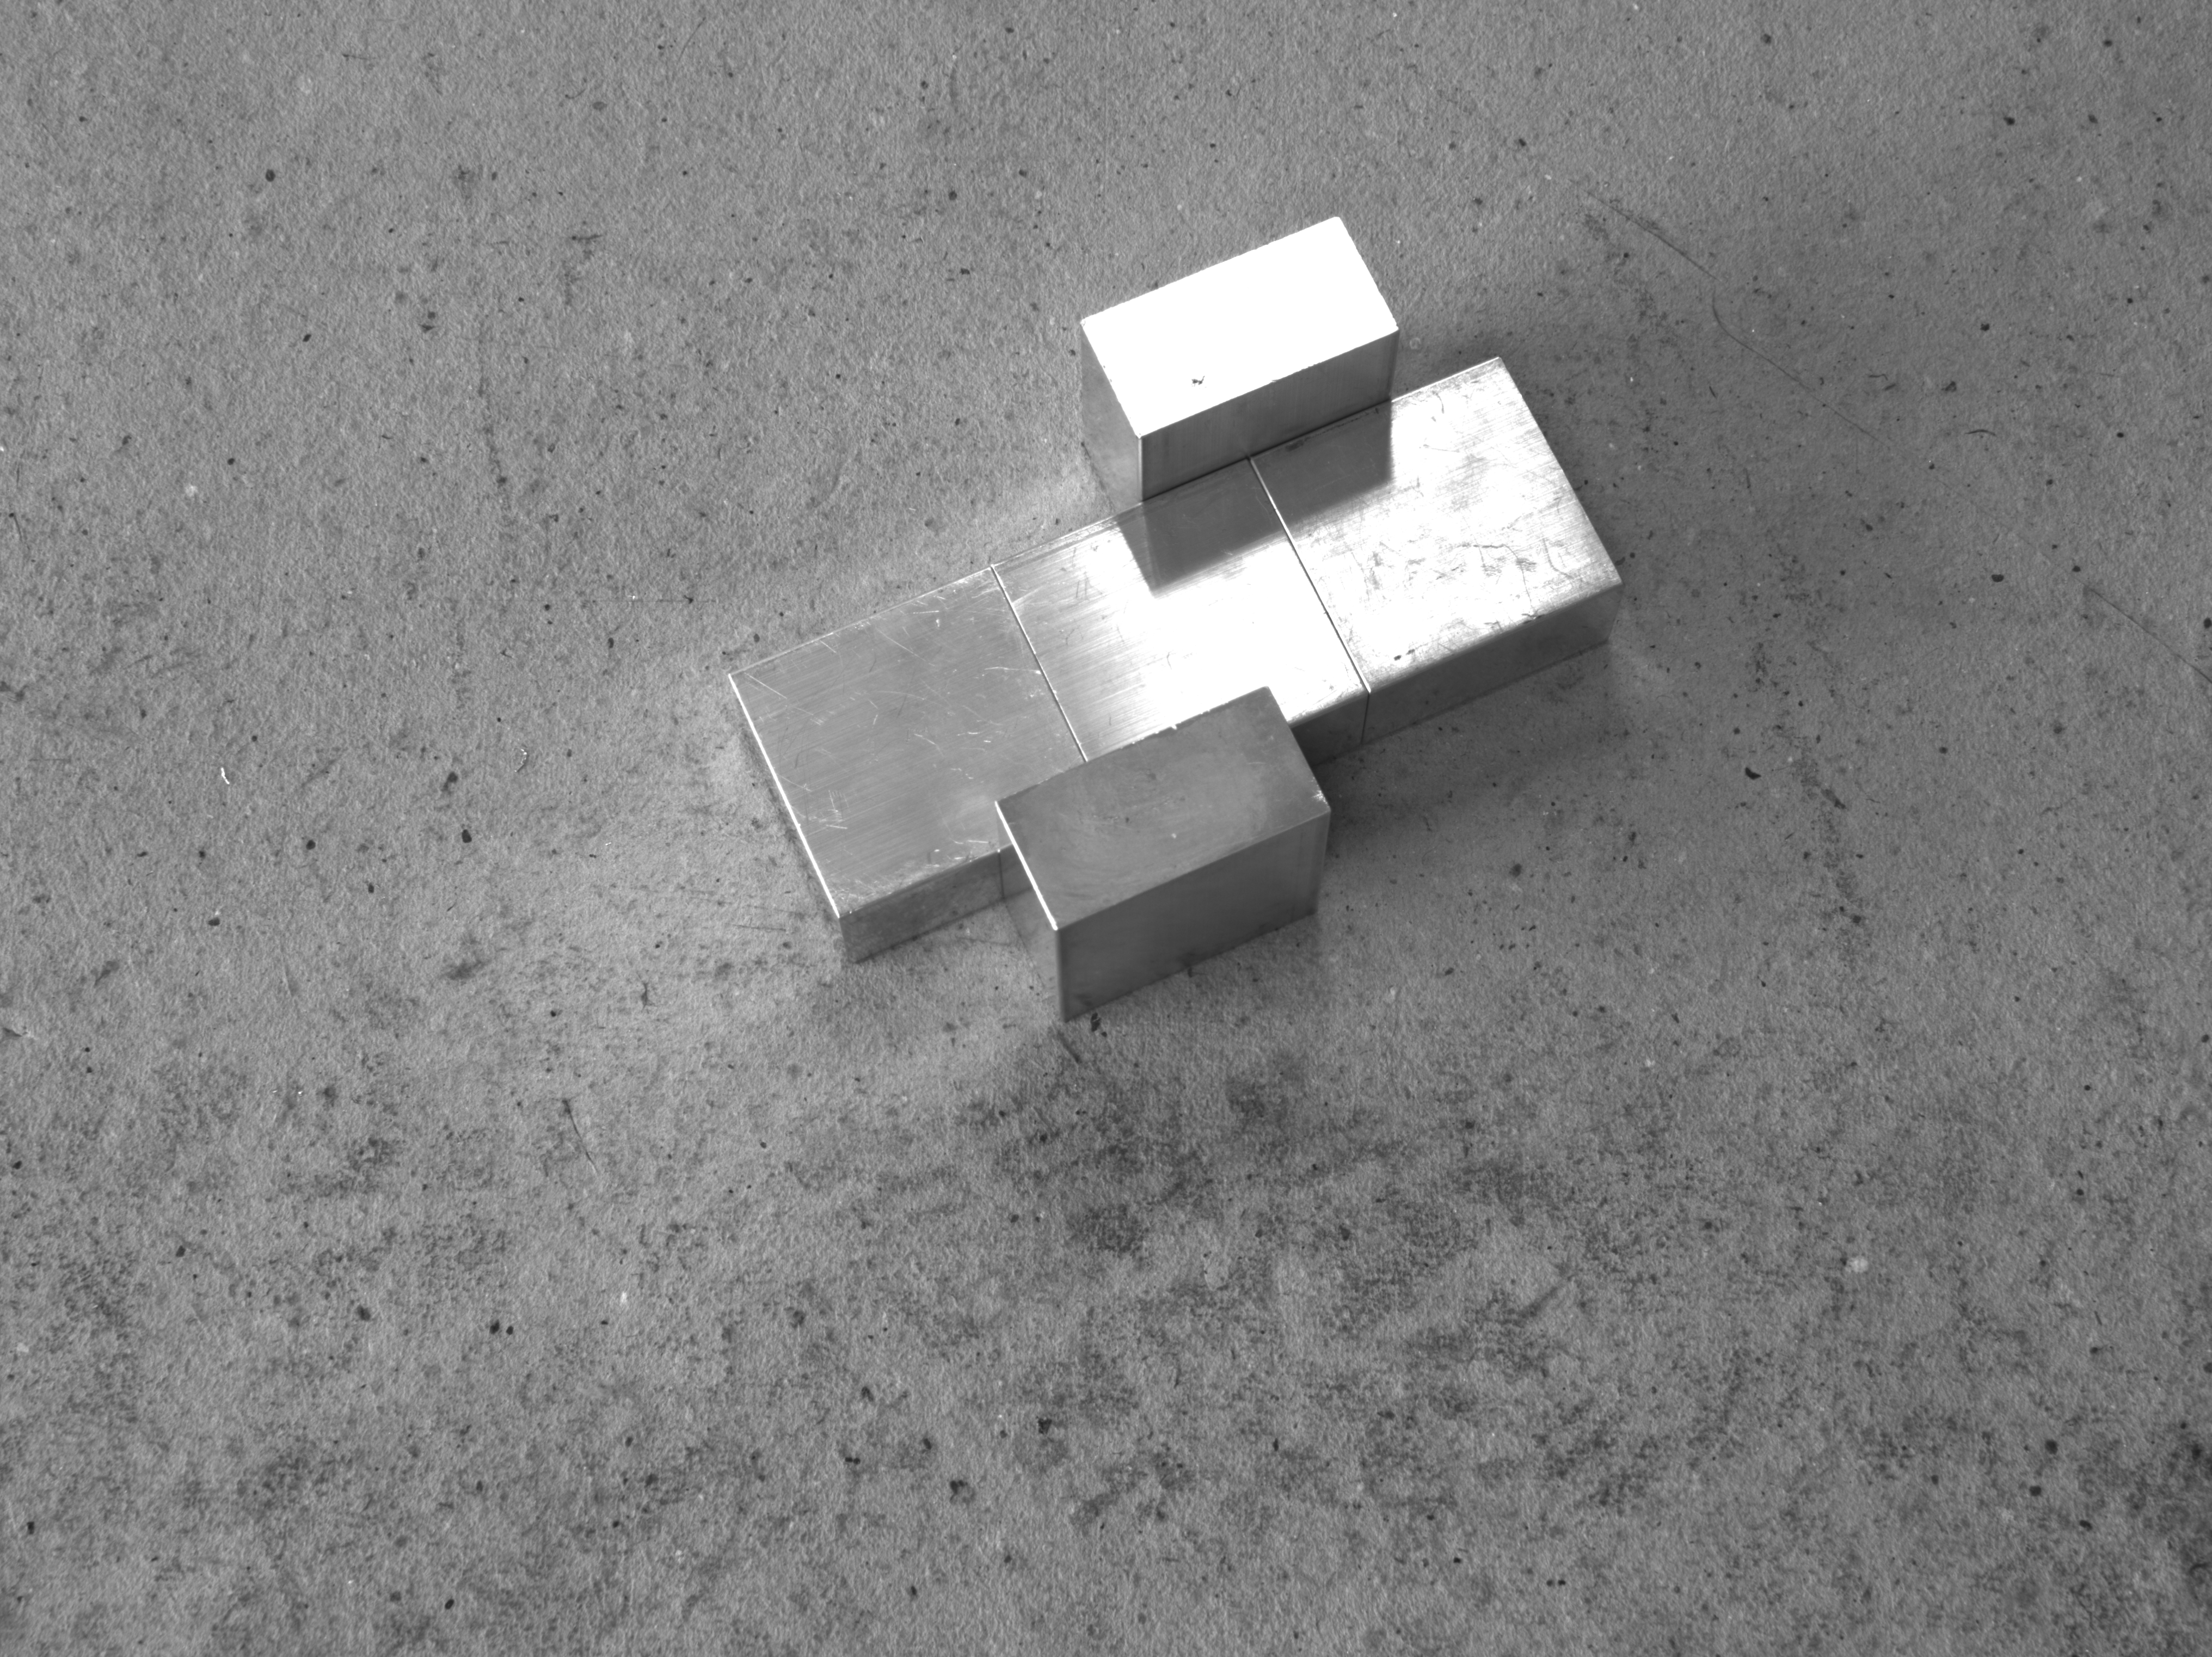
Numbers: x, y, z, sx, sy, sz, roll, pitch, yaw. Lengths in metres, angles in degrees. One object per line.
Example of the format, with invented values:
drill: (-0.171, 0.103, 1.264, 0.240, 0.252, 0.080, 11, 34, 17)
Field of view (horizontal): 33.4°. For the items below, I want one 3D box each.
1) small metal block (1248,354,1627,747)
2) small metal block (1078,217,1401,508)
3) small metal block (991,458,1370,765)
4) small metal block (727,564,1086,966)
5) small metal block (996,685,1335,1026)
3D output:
small metal block: (0.058, -0.050, 0.664, 0.050, 0.025, 0.050, -23, 72, -8)
small metal block: (0.023, -0.078, 0.661, 0.050, 0.050, 0.025, -23, 71, -7)
small metal block: (0.013, -0.031, 0.657, 0.050, 0.025, 0.050, -23, 72, -8)
small metal block: (-0.033, -0.011, 0.649, 0.050, 0.025, 0.050, -23, 72, -8)
small metal block: (0.010, 0.005, 0.631, 0.050, 0.050, 0.025, -24, 71, -8)
